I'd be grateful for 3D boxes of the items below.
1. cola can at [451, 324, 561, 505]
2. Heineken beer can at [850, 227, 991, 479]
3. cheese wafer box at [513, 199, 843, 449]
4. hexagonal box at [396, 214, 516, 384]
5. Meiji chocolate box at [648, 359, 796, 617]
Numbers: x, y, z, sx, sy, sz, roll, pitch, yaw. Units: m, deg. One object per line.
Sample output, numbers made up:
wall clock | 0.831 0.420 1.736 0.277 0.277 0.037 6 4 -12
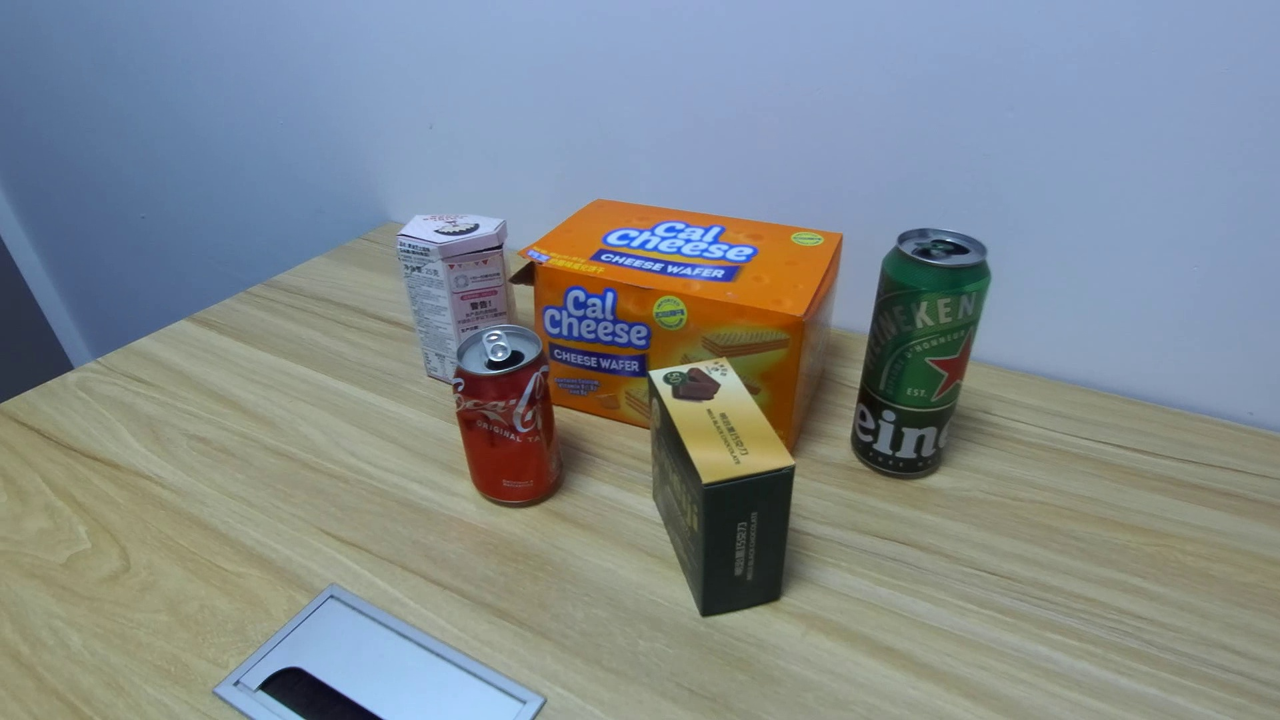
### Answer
cola can | -0.090 0.038 0.483 0.066 0.117 0.066 6 35 11
Heineken beer can | 0.189 0.000 0.484 0.067 0.169 0.067 -1 32 1
cheese wafer box | 0.034 -0.036 0.572 0.226 0.137 0.150 13 36 20
hexagonal box | -0.149 -0.052 0.603 0.092 0.135 0.084 -17 34 -22
Meiji chocolate box | 0.045 0.074 0.428 0.056 0.109 0.109 -10 34 -11
